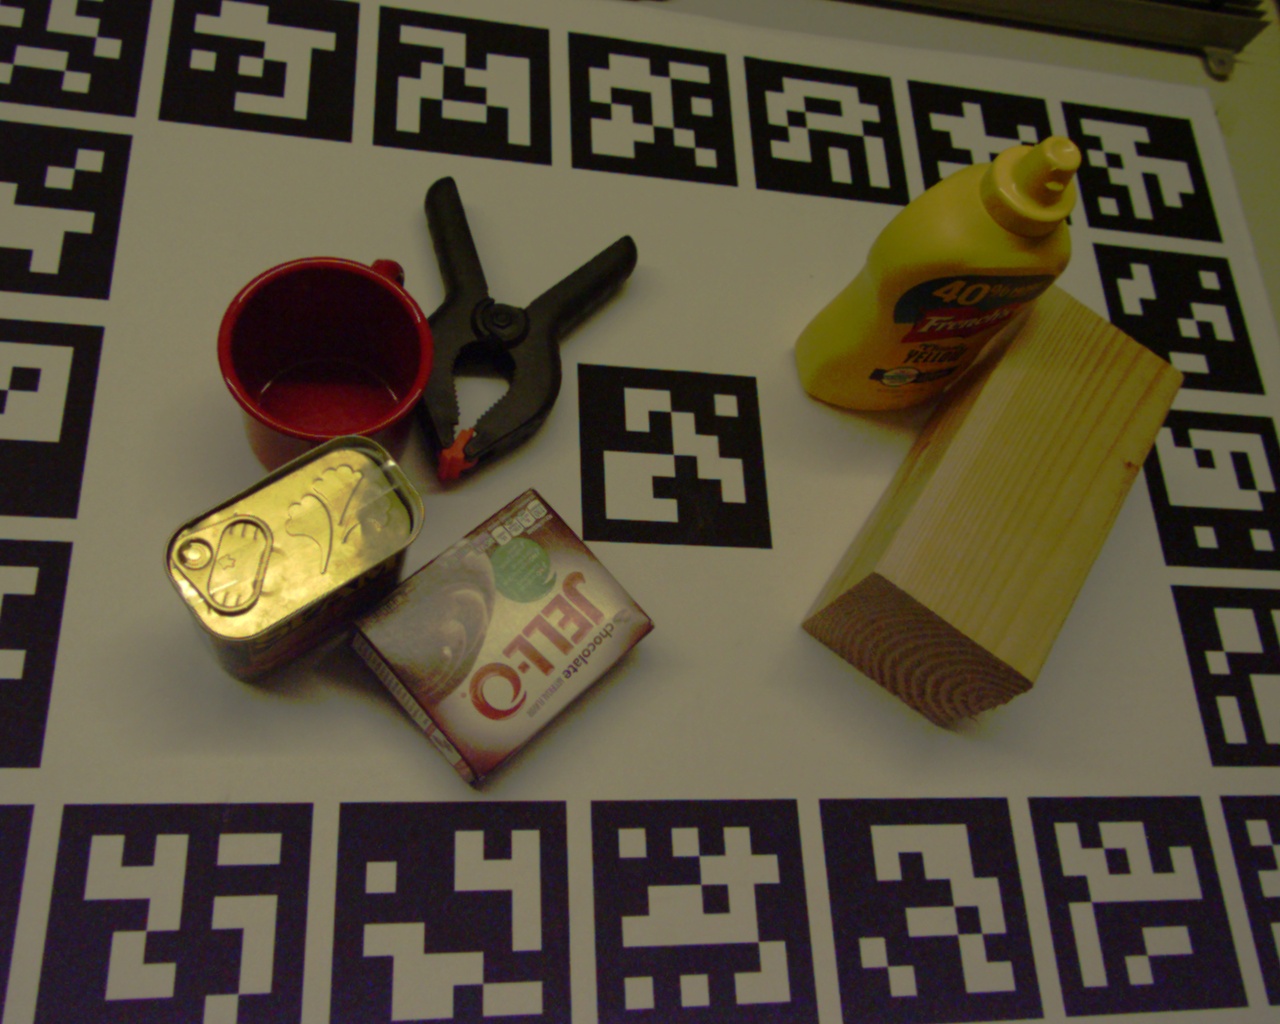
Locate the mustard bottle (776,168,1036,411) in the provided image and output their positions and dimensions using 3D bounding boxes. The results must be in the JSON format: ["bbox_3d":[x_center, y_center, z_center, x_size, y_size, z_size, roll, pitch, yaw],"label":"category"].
[{"bbox_3d":[0.147,-0.117,0.599,0.095,0.192,0.058,-3,71,-15],"label":"mustard bottle"}]

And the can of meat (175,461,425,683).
[{"bbox_3d":[-0.154,0.031,0.522,0.101,0.084,0.058,-29,80,-22],"label":"can of meat"}]

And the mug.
[{"bbox_3d":[-0.156,-0.060,0.589,0.093,0.082,0.117,23,67,-5],"label":"mug"}]

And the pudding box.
[{"bbox_3d":[-0.065,0.064,0.562,0.113,0.039,0.090,-39,83,-25],"label":"pudding box"}]

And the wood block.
[{"bbox_3d":[0.180,0.001,0.622,0.090,0.091,0.205,35,63,3],"label":"wood block"}]

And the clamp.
[{"bbox_3d":[-0.080,-0.093,0.625,0.121,0.037,0.165,20,68,-7],"label":"clamp"}]
